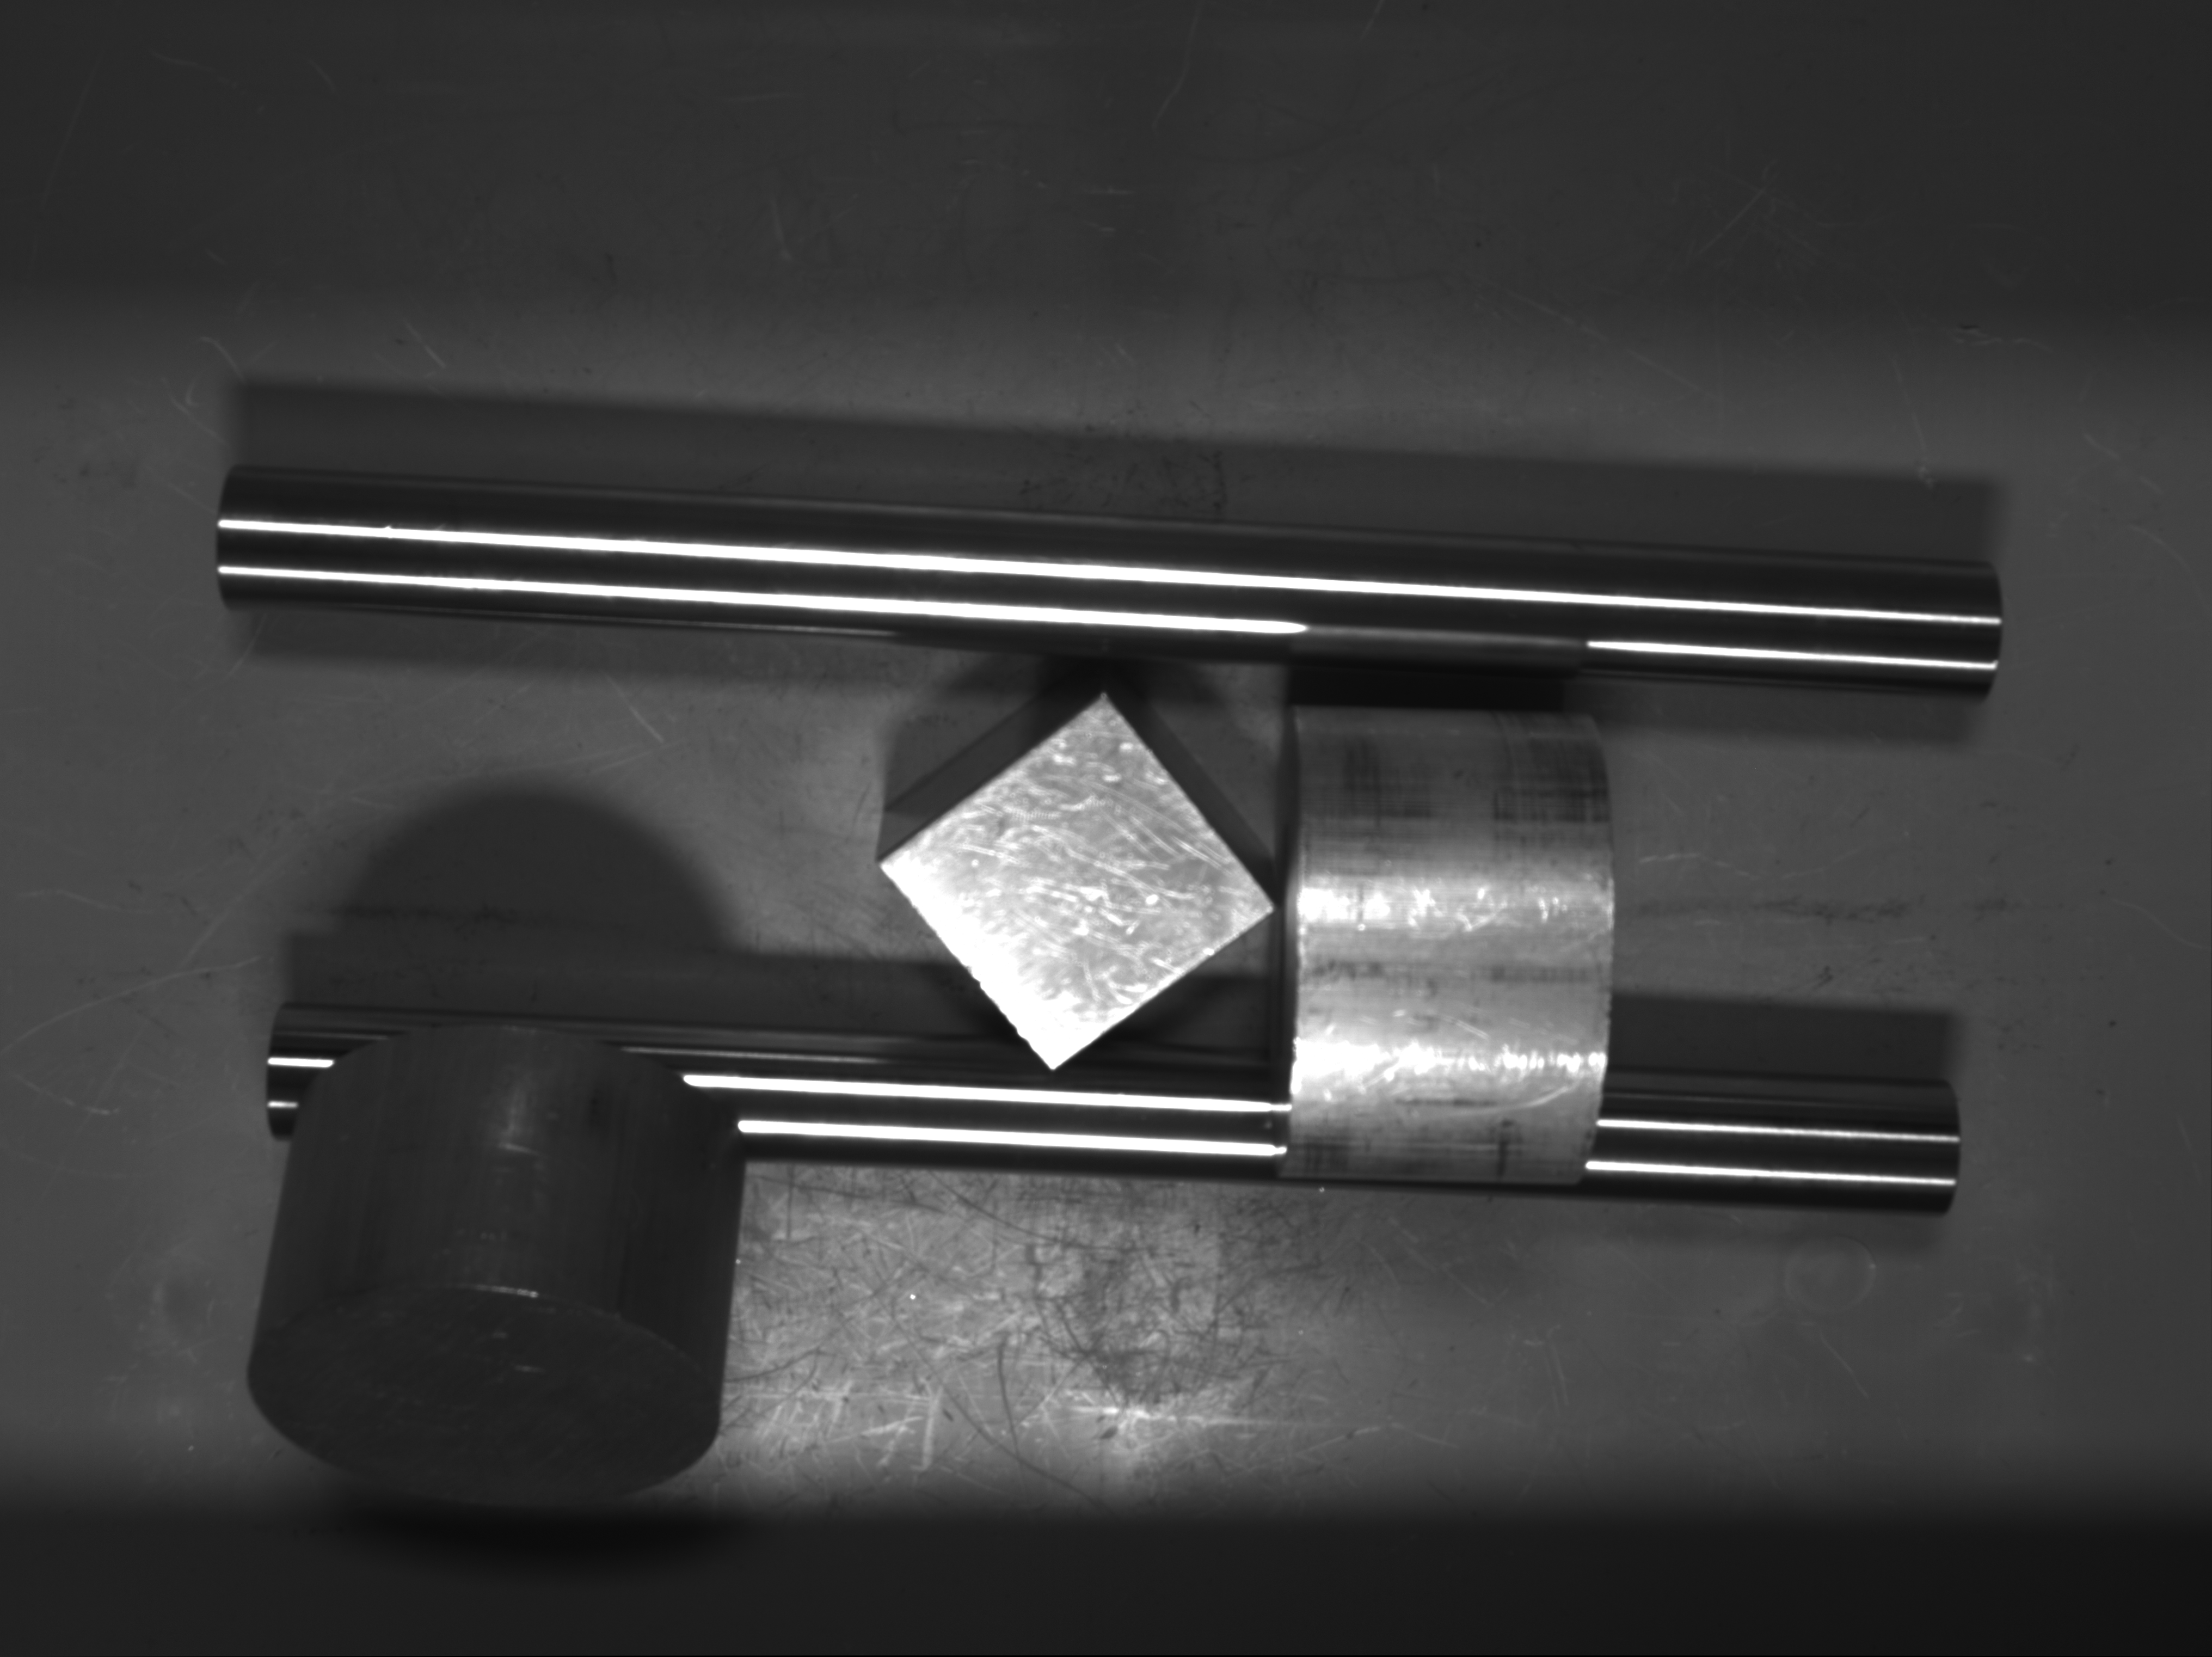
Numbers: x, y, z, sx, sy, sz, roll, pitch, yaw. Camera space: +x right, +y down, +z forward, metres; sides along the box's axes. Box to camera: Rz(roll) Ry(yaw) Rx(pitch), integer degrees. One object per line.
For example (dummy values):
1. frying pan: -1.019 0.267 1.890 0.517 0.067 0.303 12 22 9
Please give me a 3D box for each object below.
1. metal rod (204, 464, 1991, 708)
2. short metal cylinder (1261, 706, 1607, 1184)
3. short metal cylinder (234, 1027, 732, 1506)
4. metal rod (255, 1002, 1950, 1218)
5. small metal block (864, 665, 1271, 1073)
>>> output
1. metal rod: -0.001 -0.041 0.626 0.300 0.025 0.025 3 110 -2
2. short metal cylinder: 0.054 0.020 0.621 0.050 0.080 0.080 2 110 -1
3. short metal cylinder: -0.107 0.077 0.637 0.080 0.050 0.080 1 144 1
4. metal rod: 0.000 0.051 0.660 0.300 0.025 0.025 3 110 -2
5. small metal block: -0.007 0.006 0.644 0.050 0.025 0.050 -36 106 12
